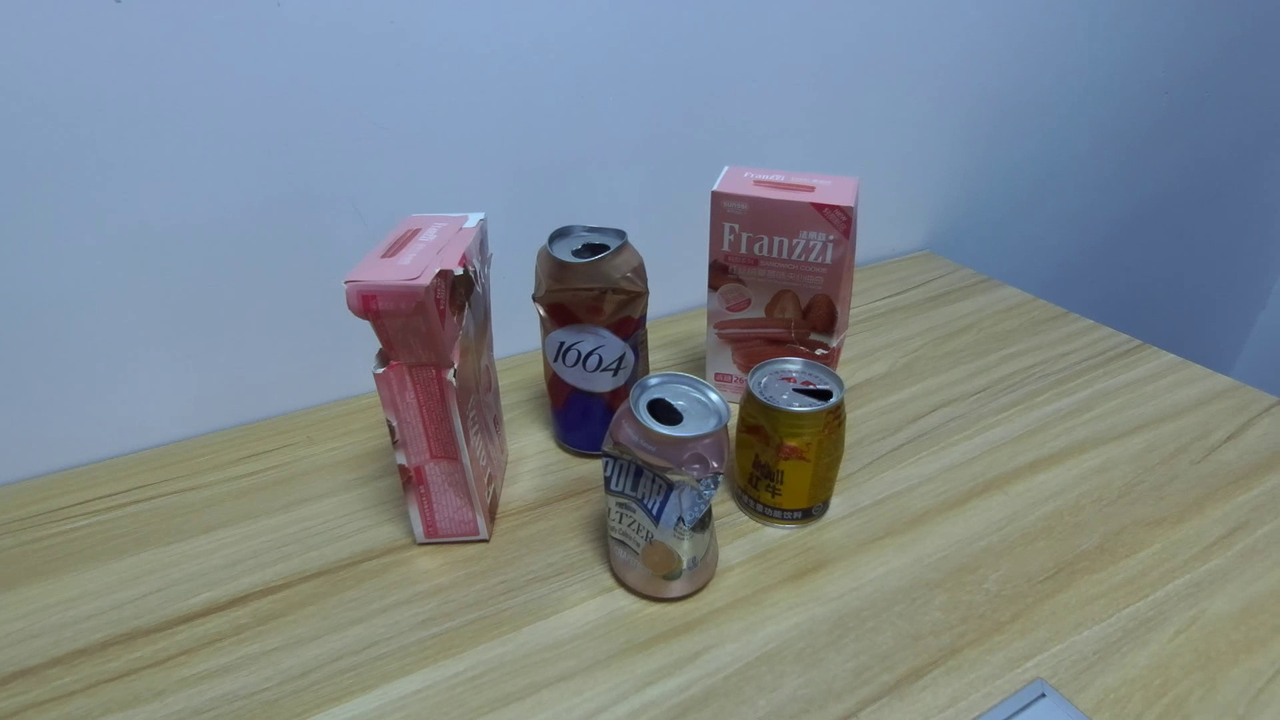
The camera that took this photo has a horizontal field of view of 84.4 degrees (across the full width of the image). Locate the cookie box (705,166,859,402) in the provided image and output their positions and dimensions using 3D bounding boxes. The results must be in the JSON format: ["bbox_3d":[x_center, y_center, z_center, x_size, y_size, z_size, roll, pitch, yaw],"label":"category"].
[{"bbox_3d":[0.107,-0.044,0.530,0.105,0.188,0.049,9,37,15],"label":"cookie box"}]

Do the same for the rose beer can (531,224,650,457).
[{"bbox_3d":[-0.032,-0.011,0.500,0.074,0.162,0.068,-12,33,-14],"label":"rose beer can"}]

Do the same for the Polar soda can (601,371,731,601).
[{"bbox_3d":[0.020,0.074,0.402,0.067,0.122,0.070,-17,35,-35],"label":"Polar soda can"}]

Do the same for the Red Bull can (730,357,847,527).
[{"bbox_3d":[0.097,0.053,0.456,0.069,0.092,0.069,0,31,1],"label":"Red Bull can"}]

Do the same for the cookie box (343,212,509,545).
[{"bbox_3d":[-0.117,0.014,0.439,0.059,0.186,0.105,-1,31,2],"label":"cookie box"}]
